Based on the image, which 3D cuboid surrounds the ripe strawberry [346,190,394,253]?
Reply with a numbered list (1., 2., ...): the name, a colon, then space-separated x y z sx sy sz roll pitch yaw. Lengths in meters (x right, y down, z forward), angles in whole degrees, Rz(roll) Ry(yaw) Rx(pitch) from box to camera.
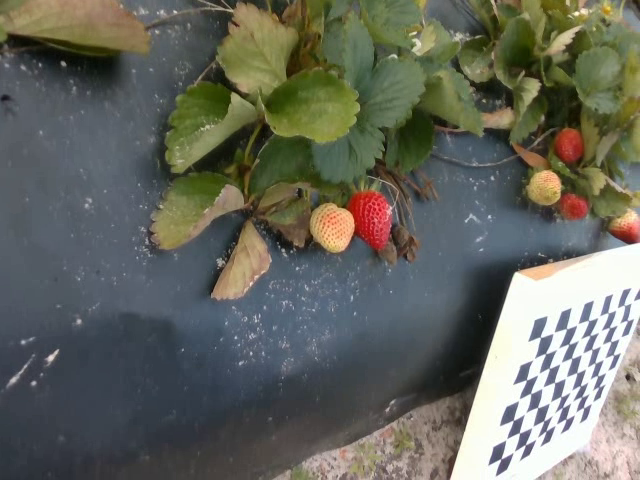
1. ripe strawberry: 0.032 -0.011 0.358 0.033 0.042 0.034 -36 -42 17
